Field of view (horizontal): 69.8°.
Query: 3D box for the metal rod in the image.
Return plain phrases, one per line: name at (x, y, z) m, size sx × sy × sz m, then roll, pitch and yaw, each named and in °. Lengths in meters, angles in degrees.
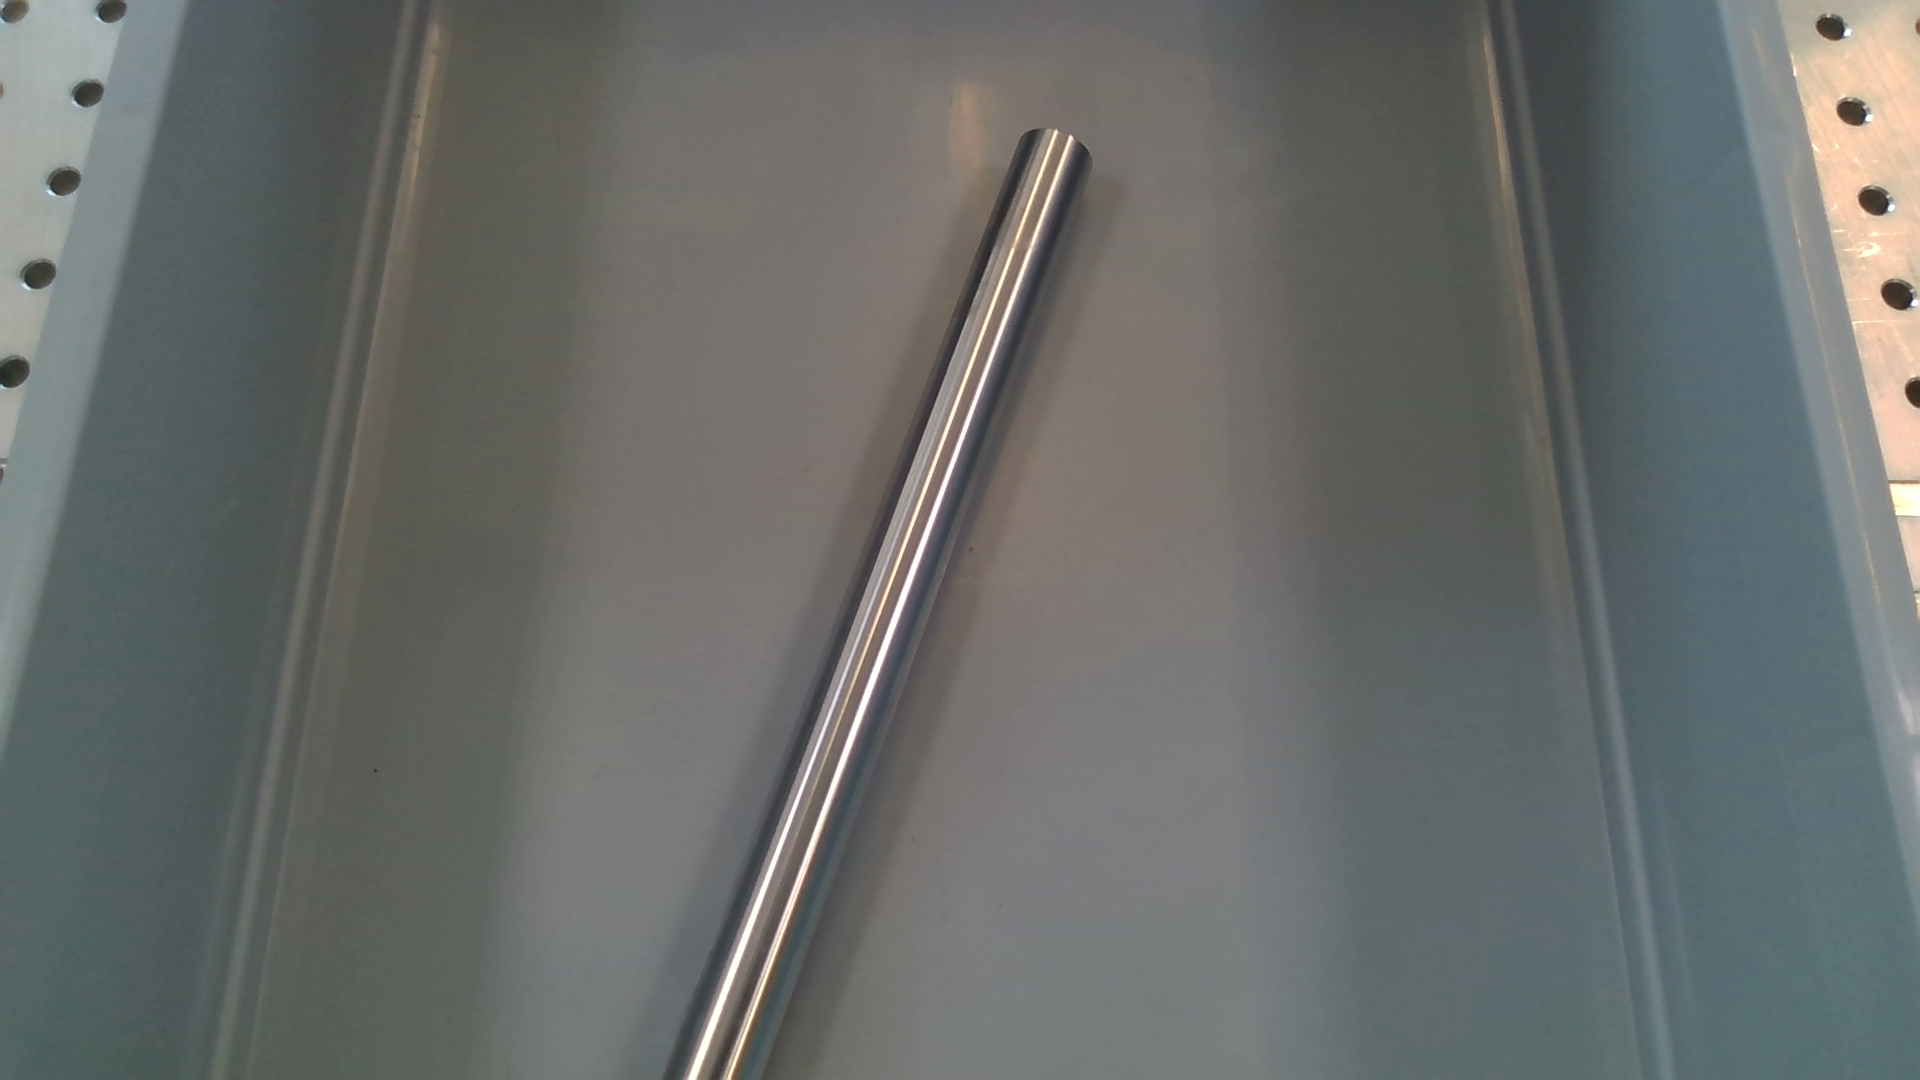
metal rod at (-0.018, 0.010, 0.391) m, size 0.025 × 0.025 × 0.299 m, roll 18°, pitch 71°, yaw 6°
